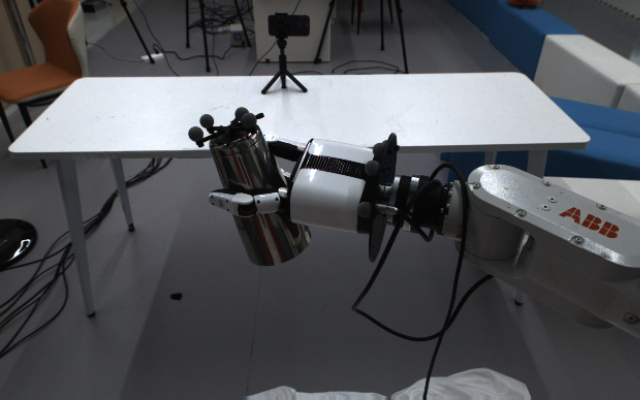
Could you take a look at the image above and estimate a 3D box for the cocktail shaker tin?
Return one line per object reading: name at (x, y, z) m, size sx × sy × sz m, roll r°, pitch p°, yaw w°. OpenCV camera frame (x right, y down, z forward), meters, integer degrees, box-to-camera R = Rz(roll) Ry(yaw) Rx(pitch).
cocktail shaker tin at (-0.080, -0.009, 0.628) m, size 0.093 × 0.170 × 0.093 m, roll -15°, pitch 29°, yaw 8°
